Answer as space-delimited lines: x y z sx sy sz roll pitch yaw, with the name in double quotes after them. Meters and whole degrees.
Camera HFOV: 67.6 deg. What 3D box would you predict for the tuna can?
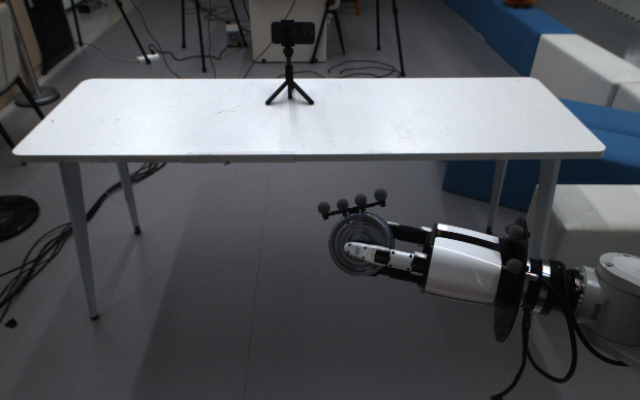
0.060 0.064 0.647 0.085 0.085 0.034 12 3 14 "tuna can"
